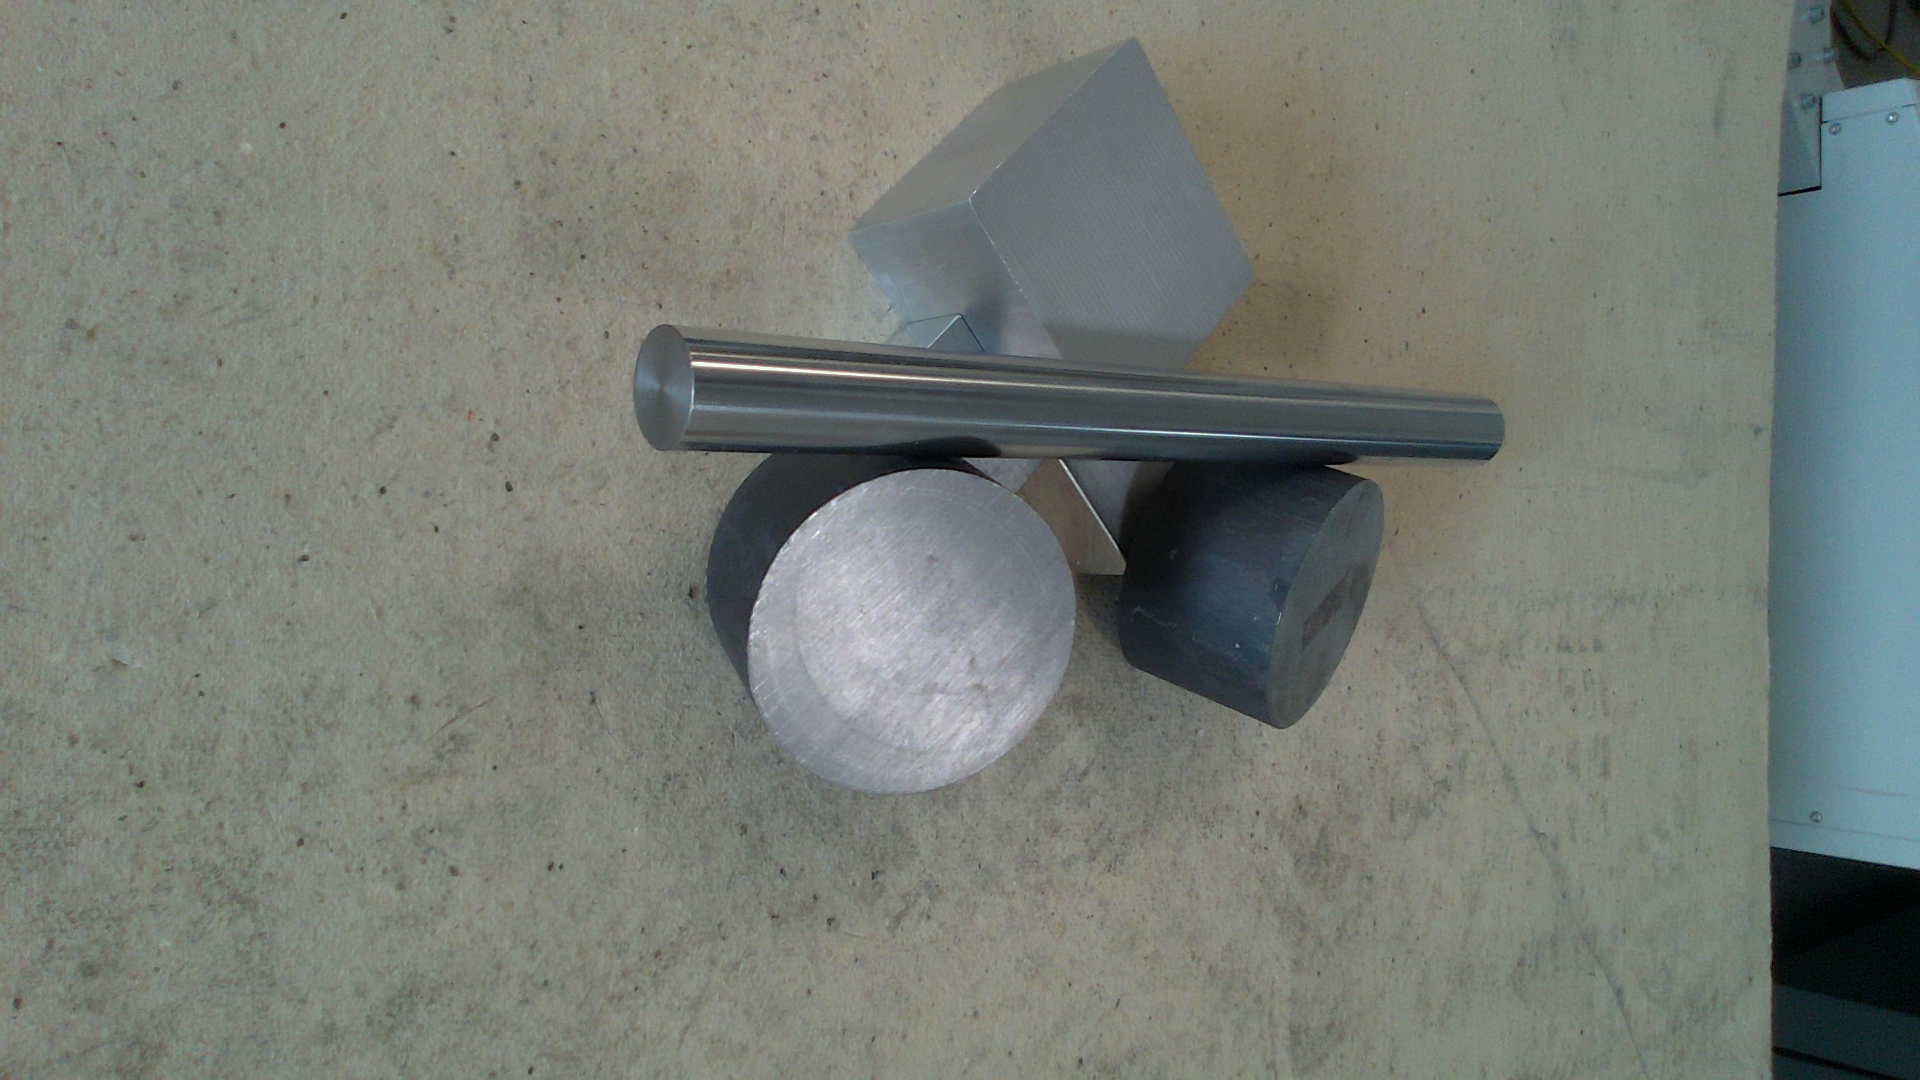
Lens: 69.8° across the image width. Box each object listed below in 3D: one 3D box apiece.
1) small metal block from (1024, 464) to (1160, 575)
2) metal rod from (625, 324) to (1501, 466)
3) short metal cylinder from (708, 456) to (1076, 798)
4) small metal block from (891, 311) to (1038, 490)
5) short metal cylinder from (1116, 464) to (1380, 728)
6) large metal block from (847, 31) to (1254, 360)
[{"bbox_3d":[0.046,-0.025,0.427,0.050,0.025,0.050,-51,120,-28],"label":"small metal block"},{"bbox_3d":[0.055,-0.034,0.368,0.301,0.025,0.025,-2,91,-40],"label":"metal rod"},{"bbox_3d":[-0.018,0.016,0.339,0.080,0.050,0.080,-6,109,-19],"label":"short metal cylinder"},{"bbox_3d":[-0.009,-0.027,0.381,0.050,0.025,0.050,-51,120,-29],"label":"small metal block"},{"bbox_3d":[0.091,0.012,0.431,0.080,0.050,0.080,-36,136,-43],"label":"short metal cylinder"},{"bbox_3d":[0.028,-0.083,0.394,0.080,0.050,0.080,-50,119,-28],"label":"large metal block"}]
